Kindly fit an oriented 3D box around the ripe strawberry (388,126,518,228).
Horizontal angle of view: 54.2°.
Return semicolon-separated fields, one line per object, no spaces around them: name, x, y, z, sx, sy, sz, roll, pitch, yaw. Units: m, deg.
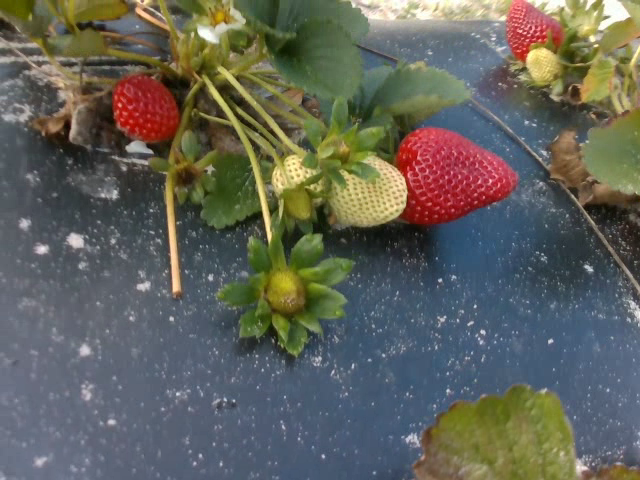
ripe strawberry;0.064;-0.027;0.290;0.055;0.051;0.048;15;-11;34
